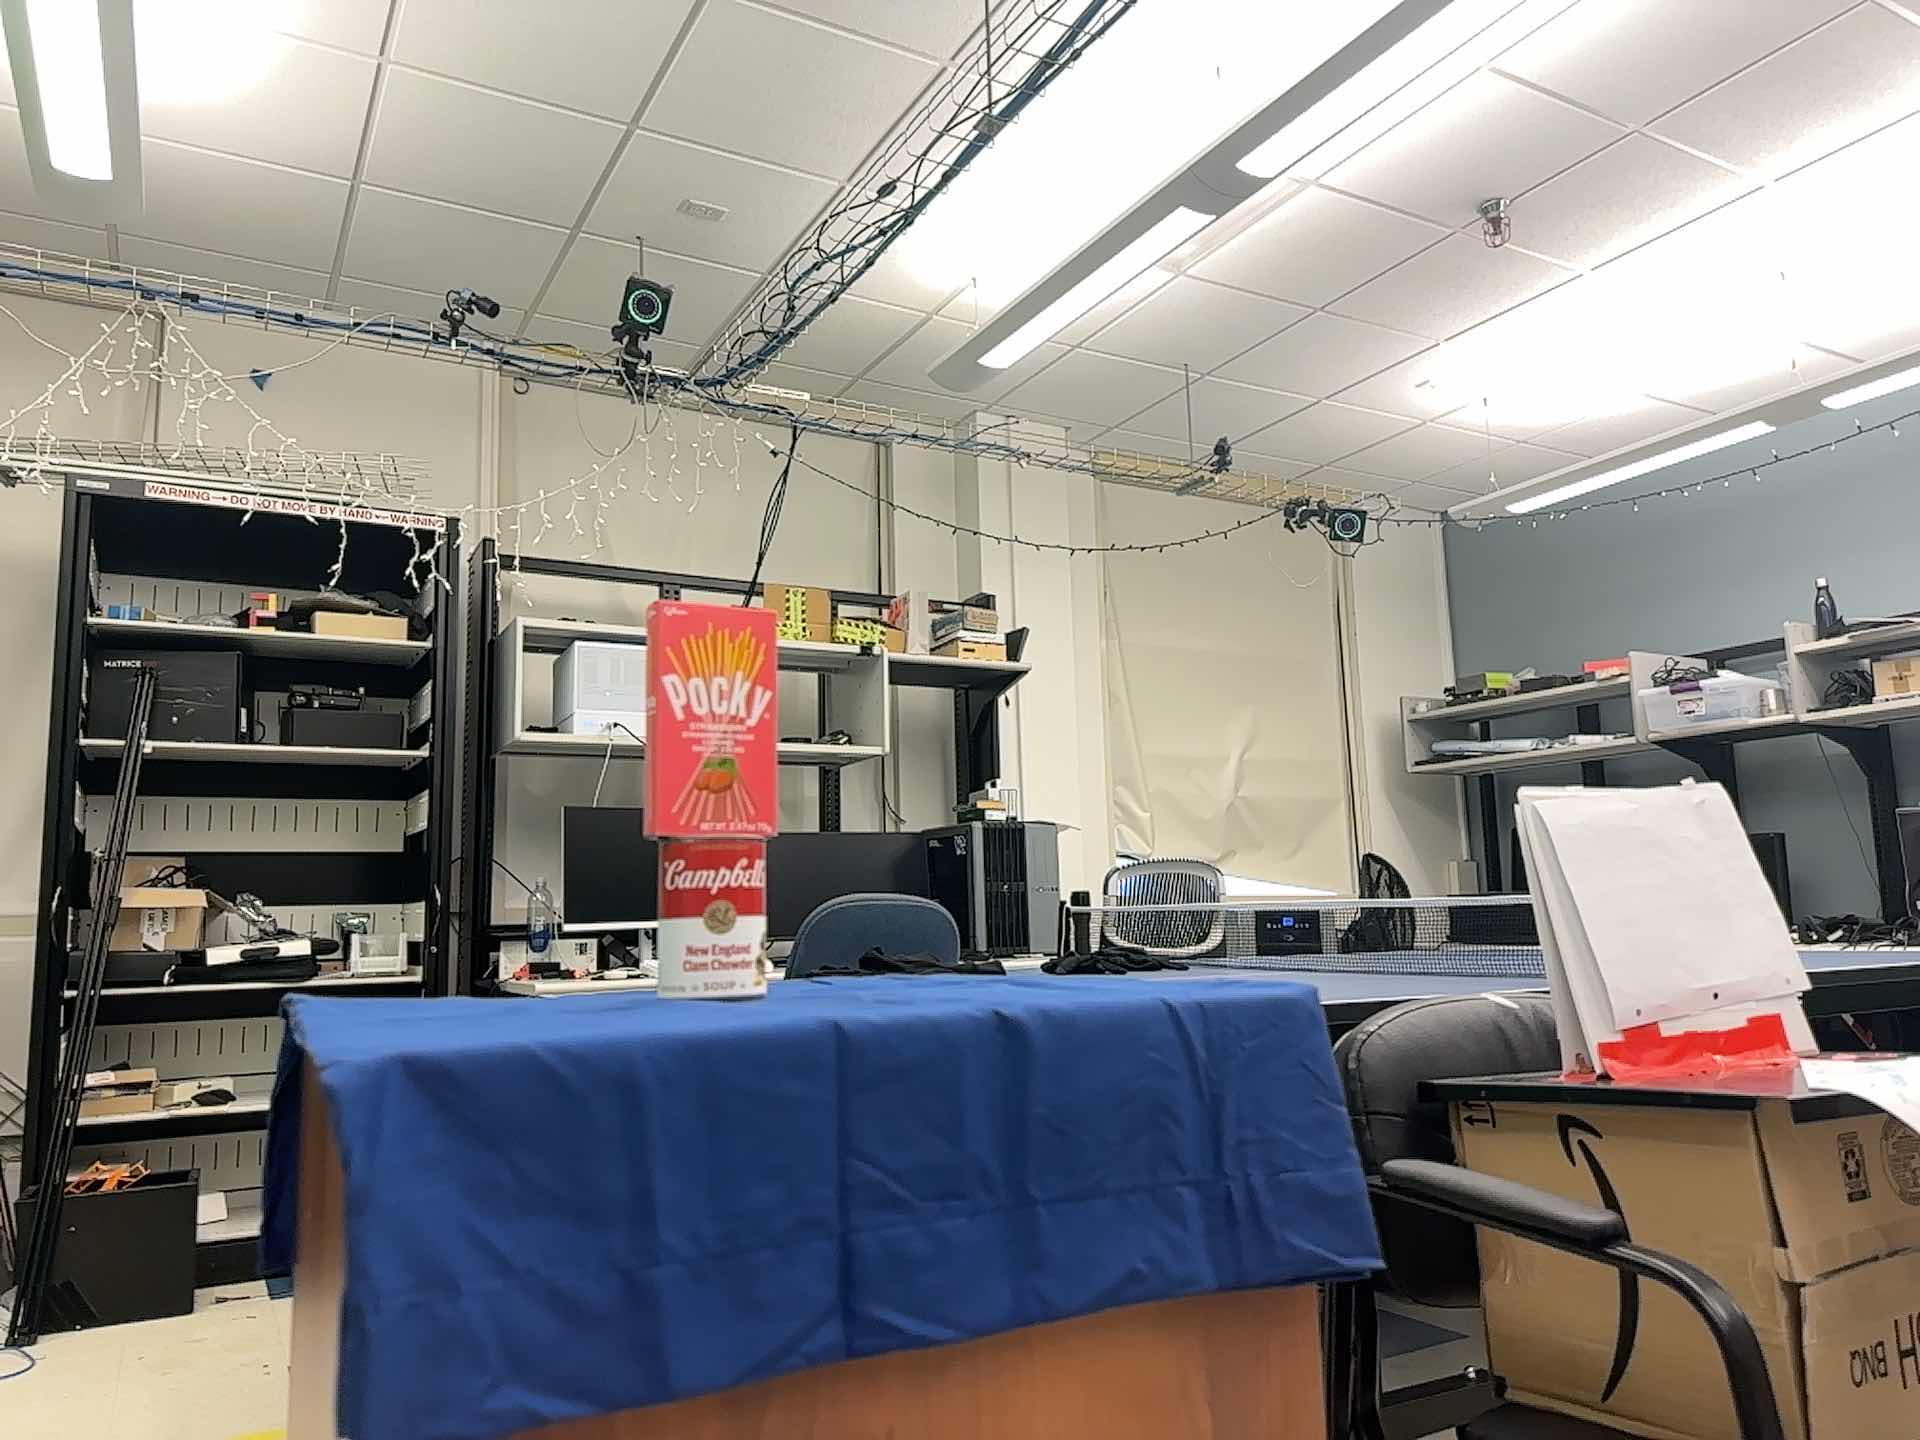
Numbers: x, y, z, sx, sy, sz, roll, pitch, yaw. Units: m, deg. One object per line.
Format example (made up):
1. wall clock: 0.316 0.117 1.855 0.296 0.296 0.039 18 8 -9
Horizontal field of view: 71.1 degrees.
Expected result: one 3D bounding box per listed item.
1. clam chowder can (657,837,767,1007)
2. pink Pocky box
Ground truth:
1. clam chowder can: -0.158 0.127 0.851 0.068 0.102 0.068 -2 -8 0
2. pink Pocky box: -0.162 0.000 0.864 0.084 0.155 0.029 2 -8 -24
